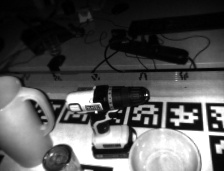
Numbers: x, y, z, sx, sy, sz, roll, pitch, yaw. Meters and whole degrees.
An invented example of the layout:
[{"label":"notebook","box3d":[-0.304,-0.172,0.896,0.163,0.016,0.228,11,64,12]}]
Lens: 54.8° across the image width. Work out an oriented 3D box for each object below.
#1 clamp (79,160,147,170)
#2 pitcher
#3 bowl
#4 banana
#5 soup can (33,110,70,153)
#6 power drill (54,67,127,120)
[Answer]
[{"label":"clamp","box3d":[-0.024,0.230,0.480,0.201,0.037,0.165,-1,49,15]},{"label":"pitcher","box3d":[-0.277,0.031,0.617,0.189,0.245,0.132,-16,40,0]},{"label":"bowl","box3d":[0.068,0.117,0.566,0.161,0.056,0.161,-8,45,9]},{"label":"banana","box3d":[-0.283,0.184,0.615,0.197,0.039,0.073,-16,35,-3]},{"label":"soup can","box3d":[-0.161,0.127,0.590,0.068,0.103,0.067,-8,35,7]},{"label":"power drill","box3d":[-0.040,0.015,0.579,0.183,0.189,0.057,-3,45,13]}]
